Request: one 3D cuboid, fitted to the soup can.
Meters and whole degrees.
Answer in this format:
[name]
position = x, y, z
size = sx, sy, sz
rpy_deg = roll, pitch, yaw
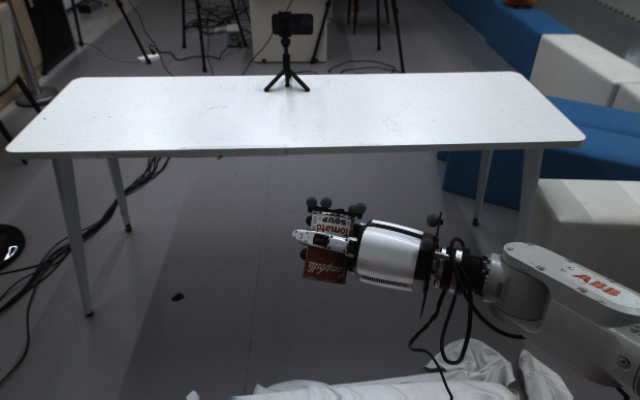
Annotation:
[soup can]
position = 0.014, 0.072, 0.737
size = 0.067, 0.101, 0.067
rpy_deg = 9, -6, 1
